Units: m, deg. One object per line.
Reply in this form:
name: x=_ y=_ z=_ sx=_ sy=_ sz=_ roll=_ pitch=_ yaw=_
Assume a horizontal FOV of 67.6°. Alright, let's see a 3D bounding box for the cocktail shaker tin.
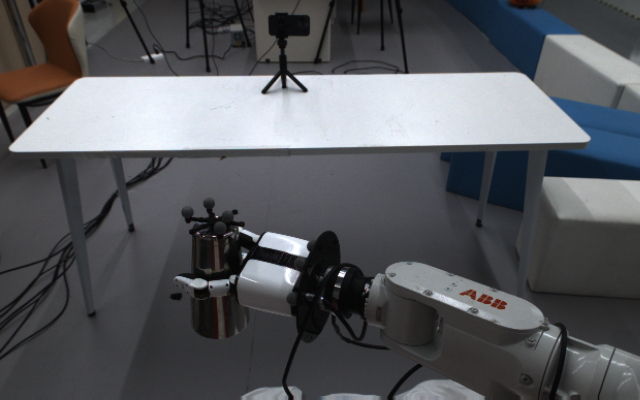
cocktail shaker tin: x=-0.155 y=0.115 z=0.736 sx=0.093 sy=0.170 sz=0.093 roll=2 pitch=25 yaw=-1
